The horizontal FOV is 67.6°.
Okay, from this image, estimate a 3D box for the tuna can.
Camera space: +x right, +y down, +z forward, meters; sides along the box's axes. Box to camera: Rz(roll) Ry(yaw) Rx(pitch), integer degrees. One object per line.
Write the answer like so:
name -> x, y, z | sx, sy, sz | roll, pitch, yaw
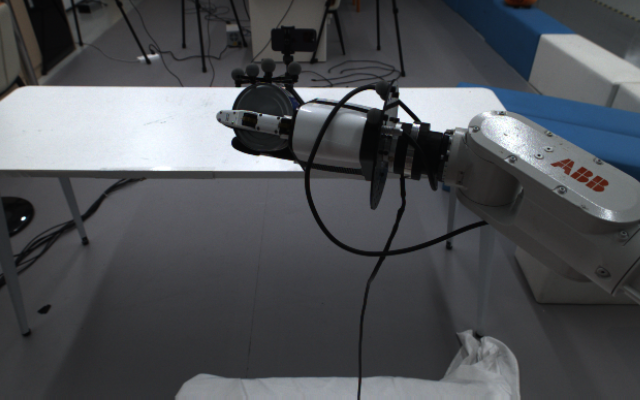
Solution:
tuna can -> -0.068, -0.105, 0.622 | 0.085, 0.085, 0.034 | 15, 9, 18
